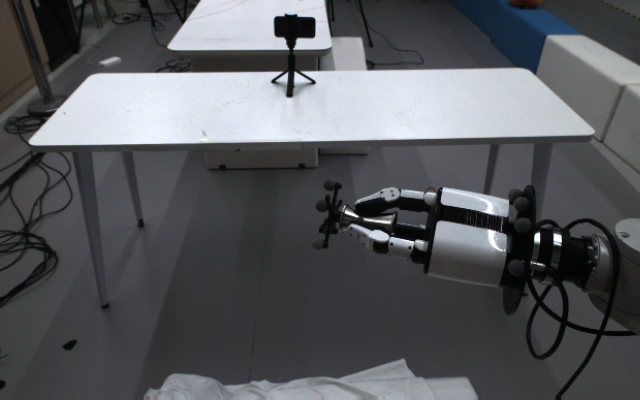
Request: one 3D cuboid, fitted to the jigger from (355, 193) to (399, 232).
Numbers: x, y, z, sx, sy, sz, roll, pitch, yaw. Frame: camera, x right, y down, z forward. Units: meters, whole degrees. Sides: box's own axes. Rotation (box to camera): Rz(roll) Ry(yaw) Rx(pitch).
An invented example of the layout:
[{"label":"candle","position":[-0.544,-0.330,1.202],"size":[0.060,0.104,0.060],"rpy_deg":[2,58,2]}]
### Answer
[{"label":"jigger","position":[0.069,0.027,0.633],"size":[0.071,0.043,0.043],"rpy_deg":[11,36,15]}]
